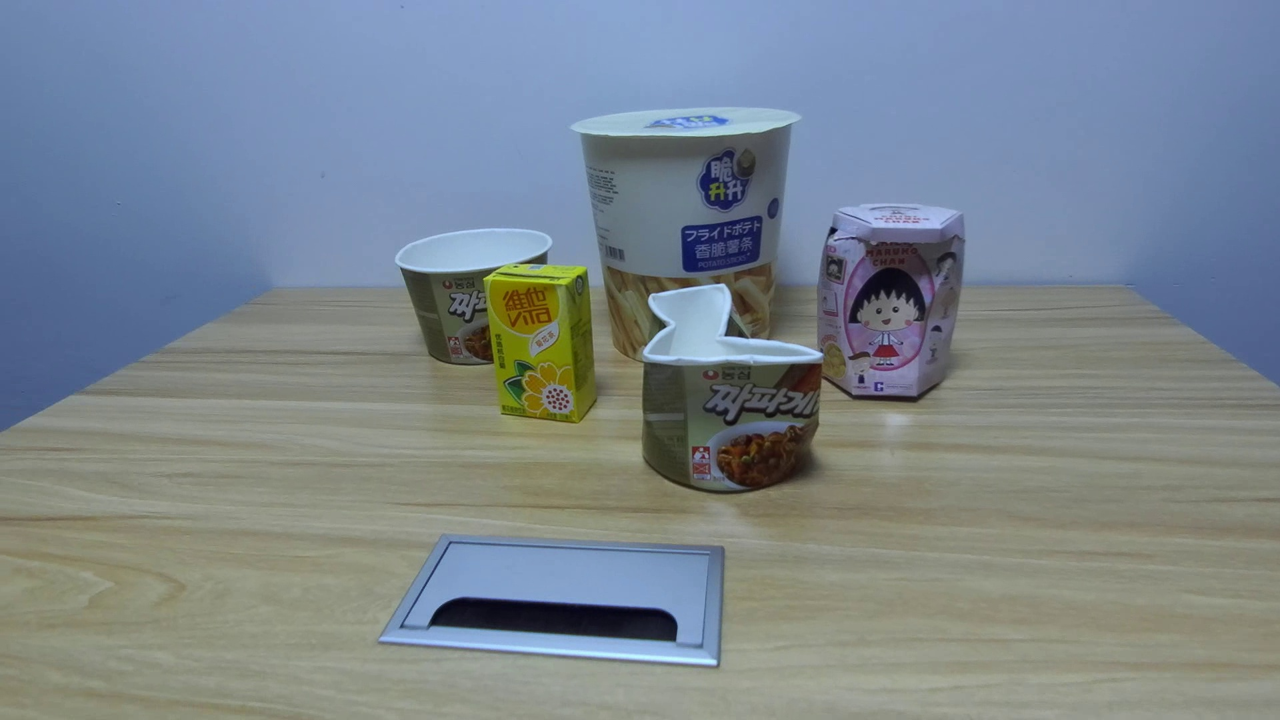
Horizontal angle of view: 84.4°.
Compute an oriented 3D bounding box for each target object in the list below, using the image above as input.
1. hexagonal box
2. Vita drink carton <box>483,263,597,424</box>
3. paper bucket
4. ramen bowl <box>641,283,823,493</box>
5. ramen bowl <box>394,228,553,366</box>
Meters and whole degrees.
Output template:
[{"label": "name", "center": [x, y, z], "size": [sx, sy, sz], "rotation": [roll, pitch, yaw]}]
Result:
[{"label": "hexagonal box", "center": [0.186, -0.046, 0.538], "size": [0.090, 0.134, 0.090], "rotation": [-18, 28, -37]}, {"label": "Vita drink carton", "center": [-0.071, -0.013, 0.524], "size": [0.066, 0.109, 0.043], "rotation": [6, 26, 18]}, {"label": "paper bucket", "center": [0.041, -0.110, 0.620], "size": [0.198, 0.195, 0.198], "rotation": [-3, 24, 1]}, {"label": "ramen bowl", "center": [0.055, 0.014, 0.463], "size": [0.111, 0.093, 0.128], "rotation": [-2, 25, 3]}, {"label": "ramen bowl", "center": [-0.147, -0.060, 0.659], "size": [0.140, 0.095, 0.140], "rotation": [-2, 25, 1]}]
